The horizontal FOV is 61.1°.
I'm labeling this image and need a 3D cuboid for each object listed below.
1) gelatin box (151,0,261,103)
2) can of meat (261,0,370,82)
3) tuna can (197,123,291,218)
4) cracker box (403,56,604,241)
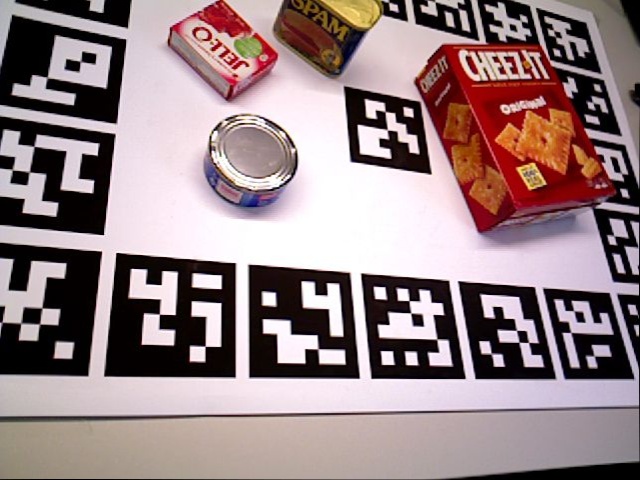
[{"bbox_3d":[-0.116,-0.197,0.562,0.089,0.031,0.071,44,55,-3],"label":"gelatin box"},{"bbox_3d":[-0.010,-0.237,0.603,0.101,0.085,0.056,32,57,-5],"label":"can of meat"},{"bbox_3d":[-0.073,-0.065,0.516,0.085,0.034,0.085,7,68,-19],"label":"tuna can"},{"bbox_3d":[0.219,-0.118,0.651,0.161,0.073,0.213,-12,71,-29],"label":"cracker box"}]
